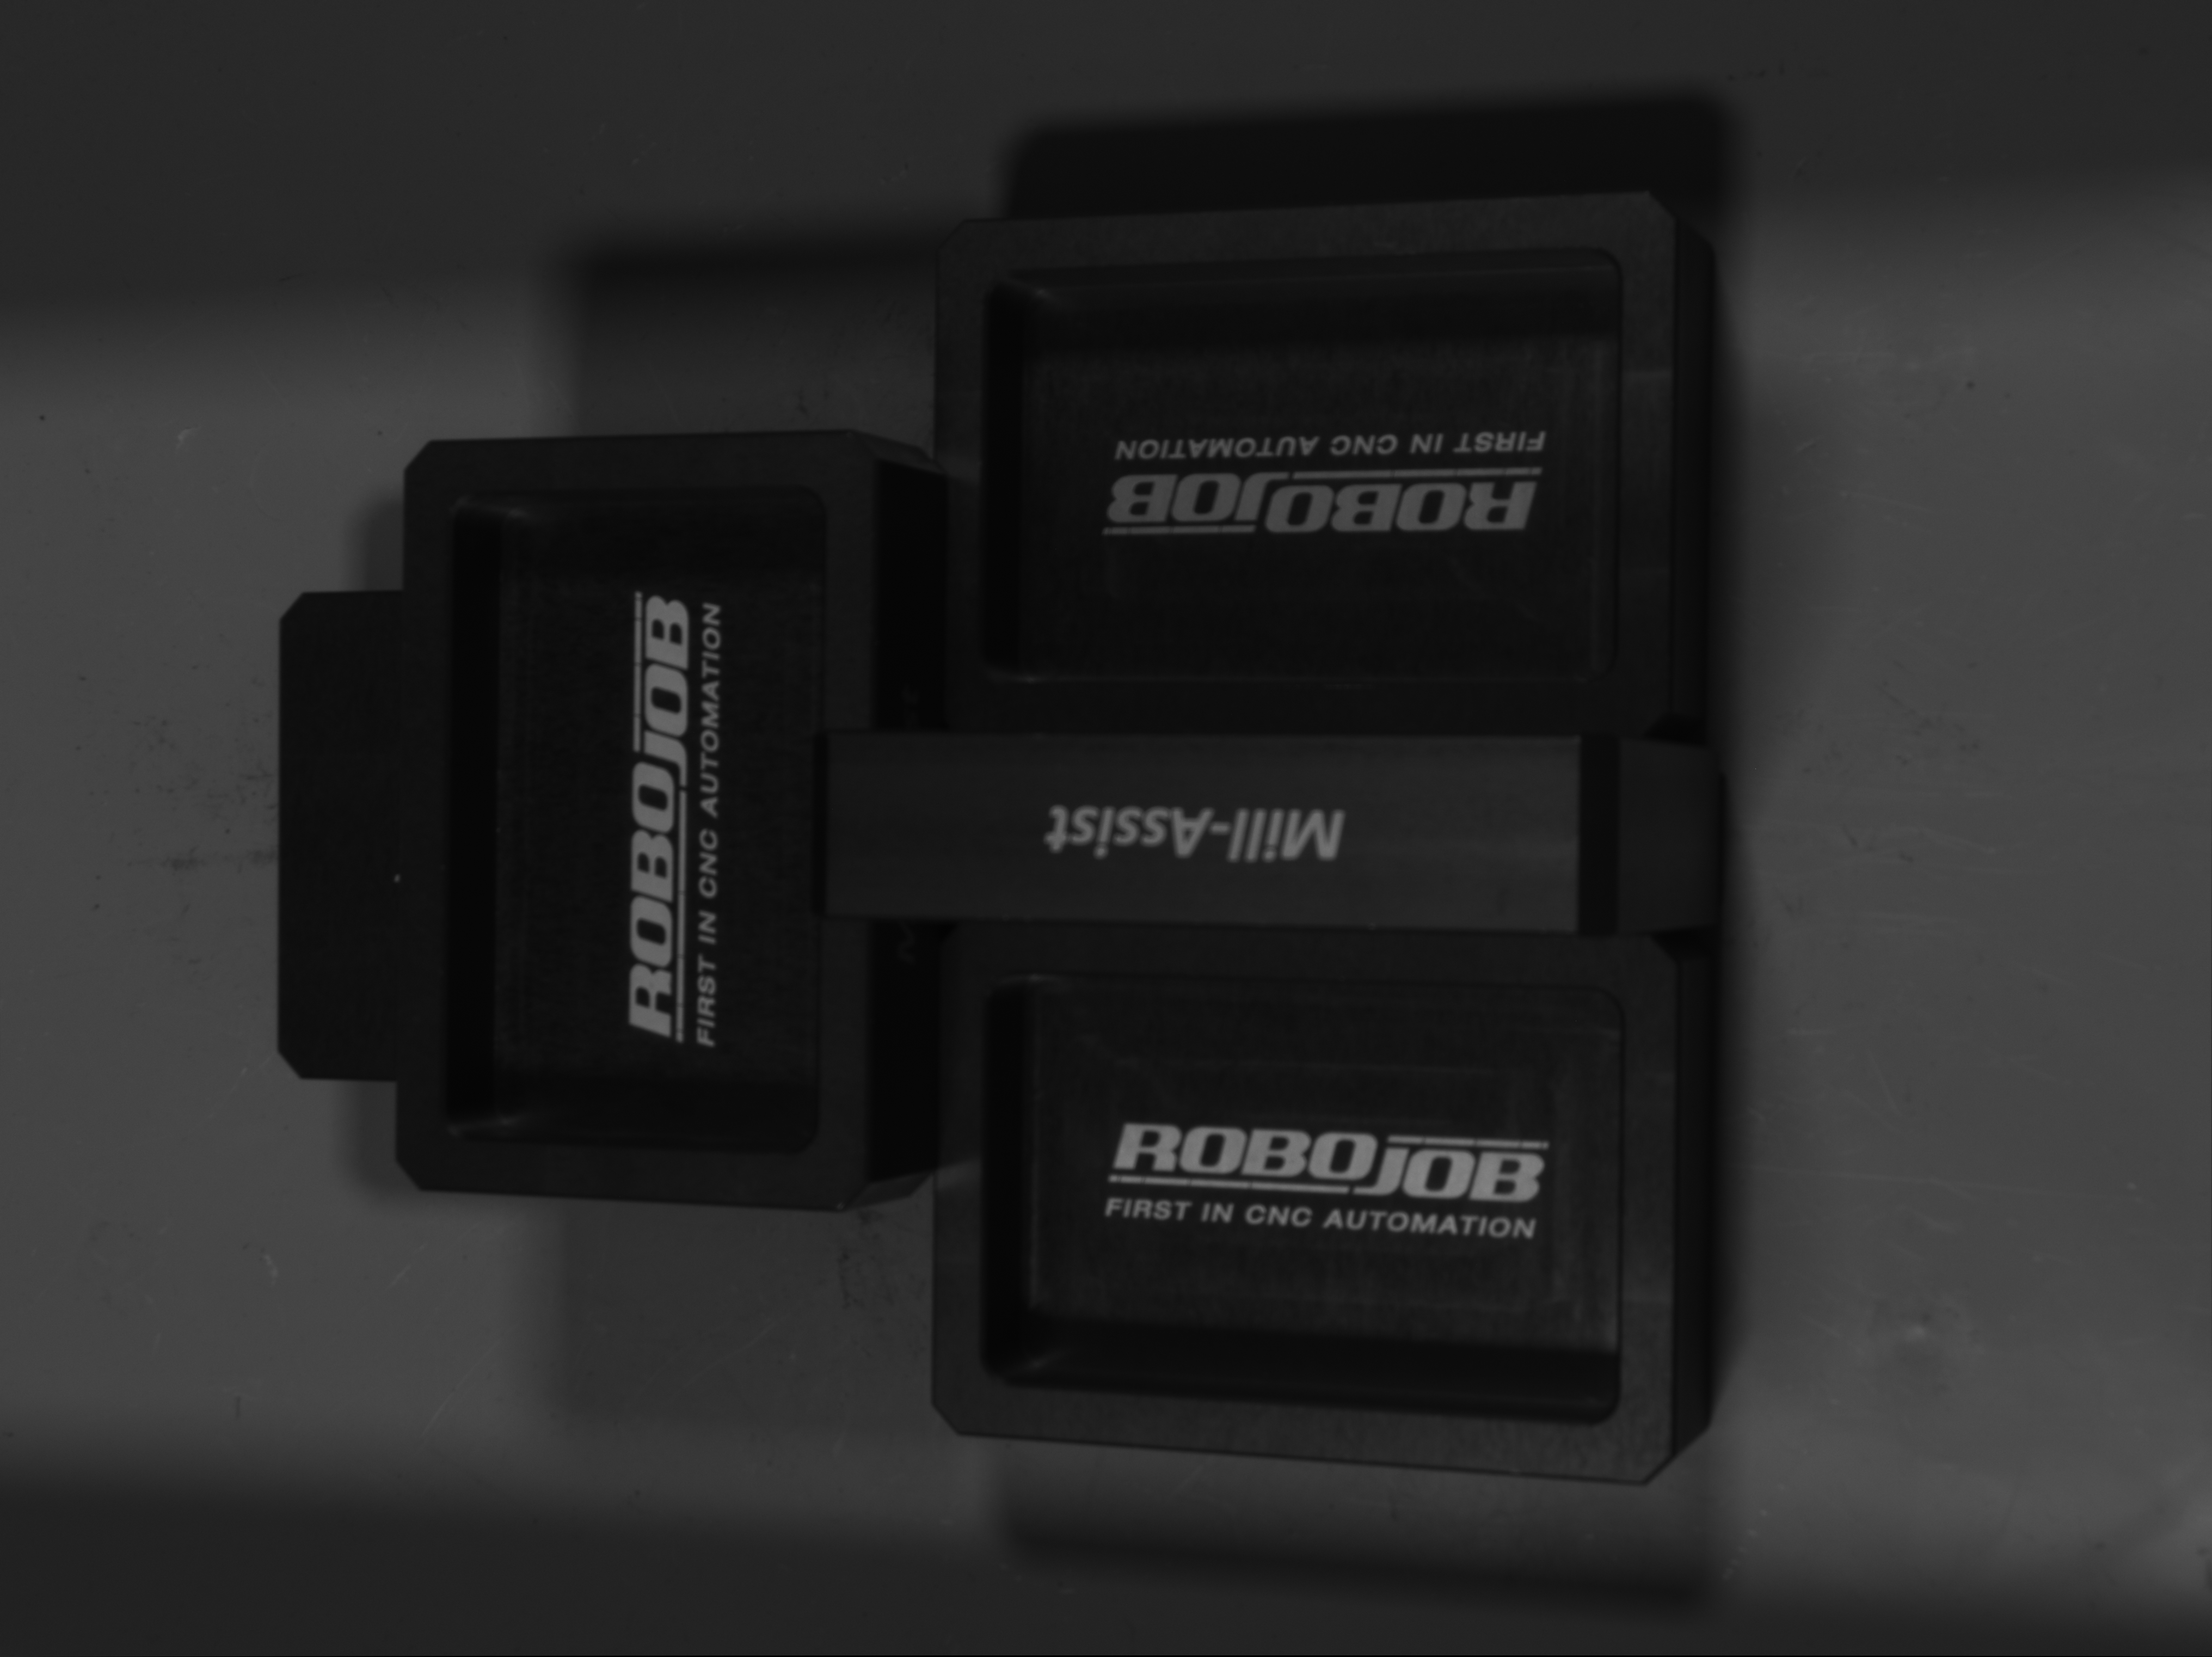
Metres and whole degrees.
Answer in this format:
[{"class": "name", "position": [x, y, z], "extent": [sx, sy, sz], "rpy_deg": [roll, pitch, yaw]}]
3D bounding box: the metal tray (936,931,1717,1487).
[{"class": "metal tray", "position": [0.037, 0.061, 0.627], "extent": [0.130, 0.030, 0.090], "rpy_deg": [1, 90, 20]}]

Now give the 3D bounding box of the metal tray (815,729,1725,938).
[{"class": "metal tray", "position": [0.029, 0.000, 0.597], "extent": [0.130, 0.090, 0.030], "rpy_deg": [1, 90, 20]}]

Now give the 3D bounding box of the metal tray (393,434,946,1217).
[{"class": "metal tray", "position": [-0.076, -0.001, 0.635], "extent": [0.090, 0.030, 0.130], "rpy_deg": [1, 90, 20]}]

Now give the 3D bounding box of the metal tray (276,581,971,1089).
[{"class": "metal tray", "position": [-0.088, 0.002, 0.670], "extent": [0.130, 0.030, 0.090], "rpy_deg": [0, 90, 20]}]

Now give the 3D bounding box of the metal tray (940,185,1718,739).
[{"class": "metal tray", "position": [0.037, -0.060, 0.628], "extent": [0.130, 0.030, 0.090], "rpy_deg": [1, 90, 20]}]
